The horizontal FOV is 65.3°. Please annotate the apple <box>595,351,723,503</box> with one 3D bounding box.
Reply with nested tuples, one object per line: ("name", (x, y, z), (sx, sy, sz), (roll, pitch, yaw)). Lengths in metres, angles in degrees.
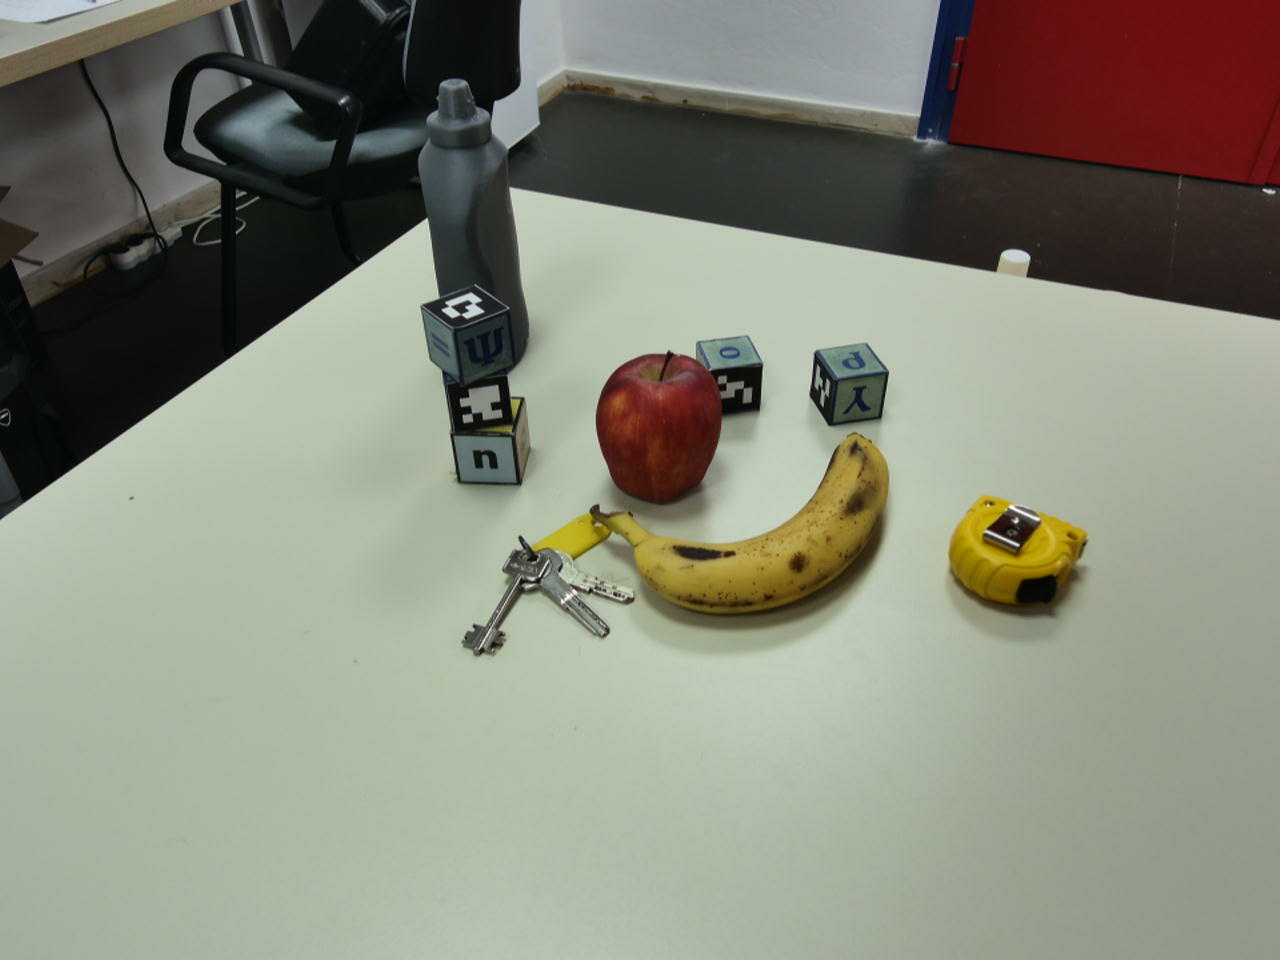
("apple", (0.012, -0.037, 0.590), (0.083, 0.090, 0.083), (-1, 38, 1))
